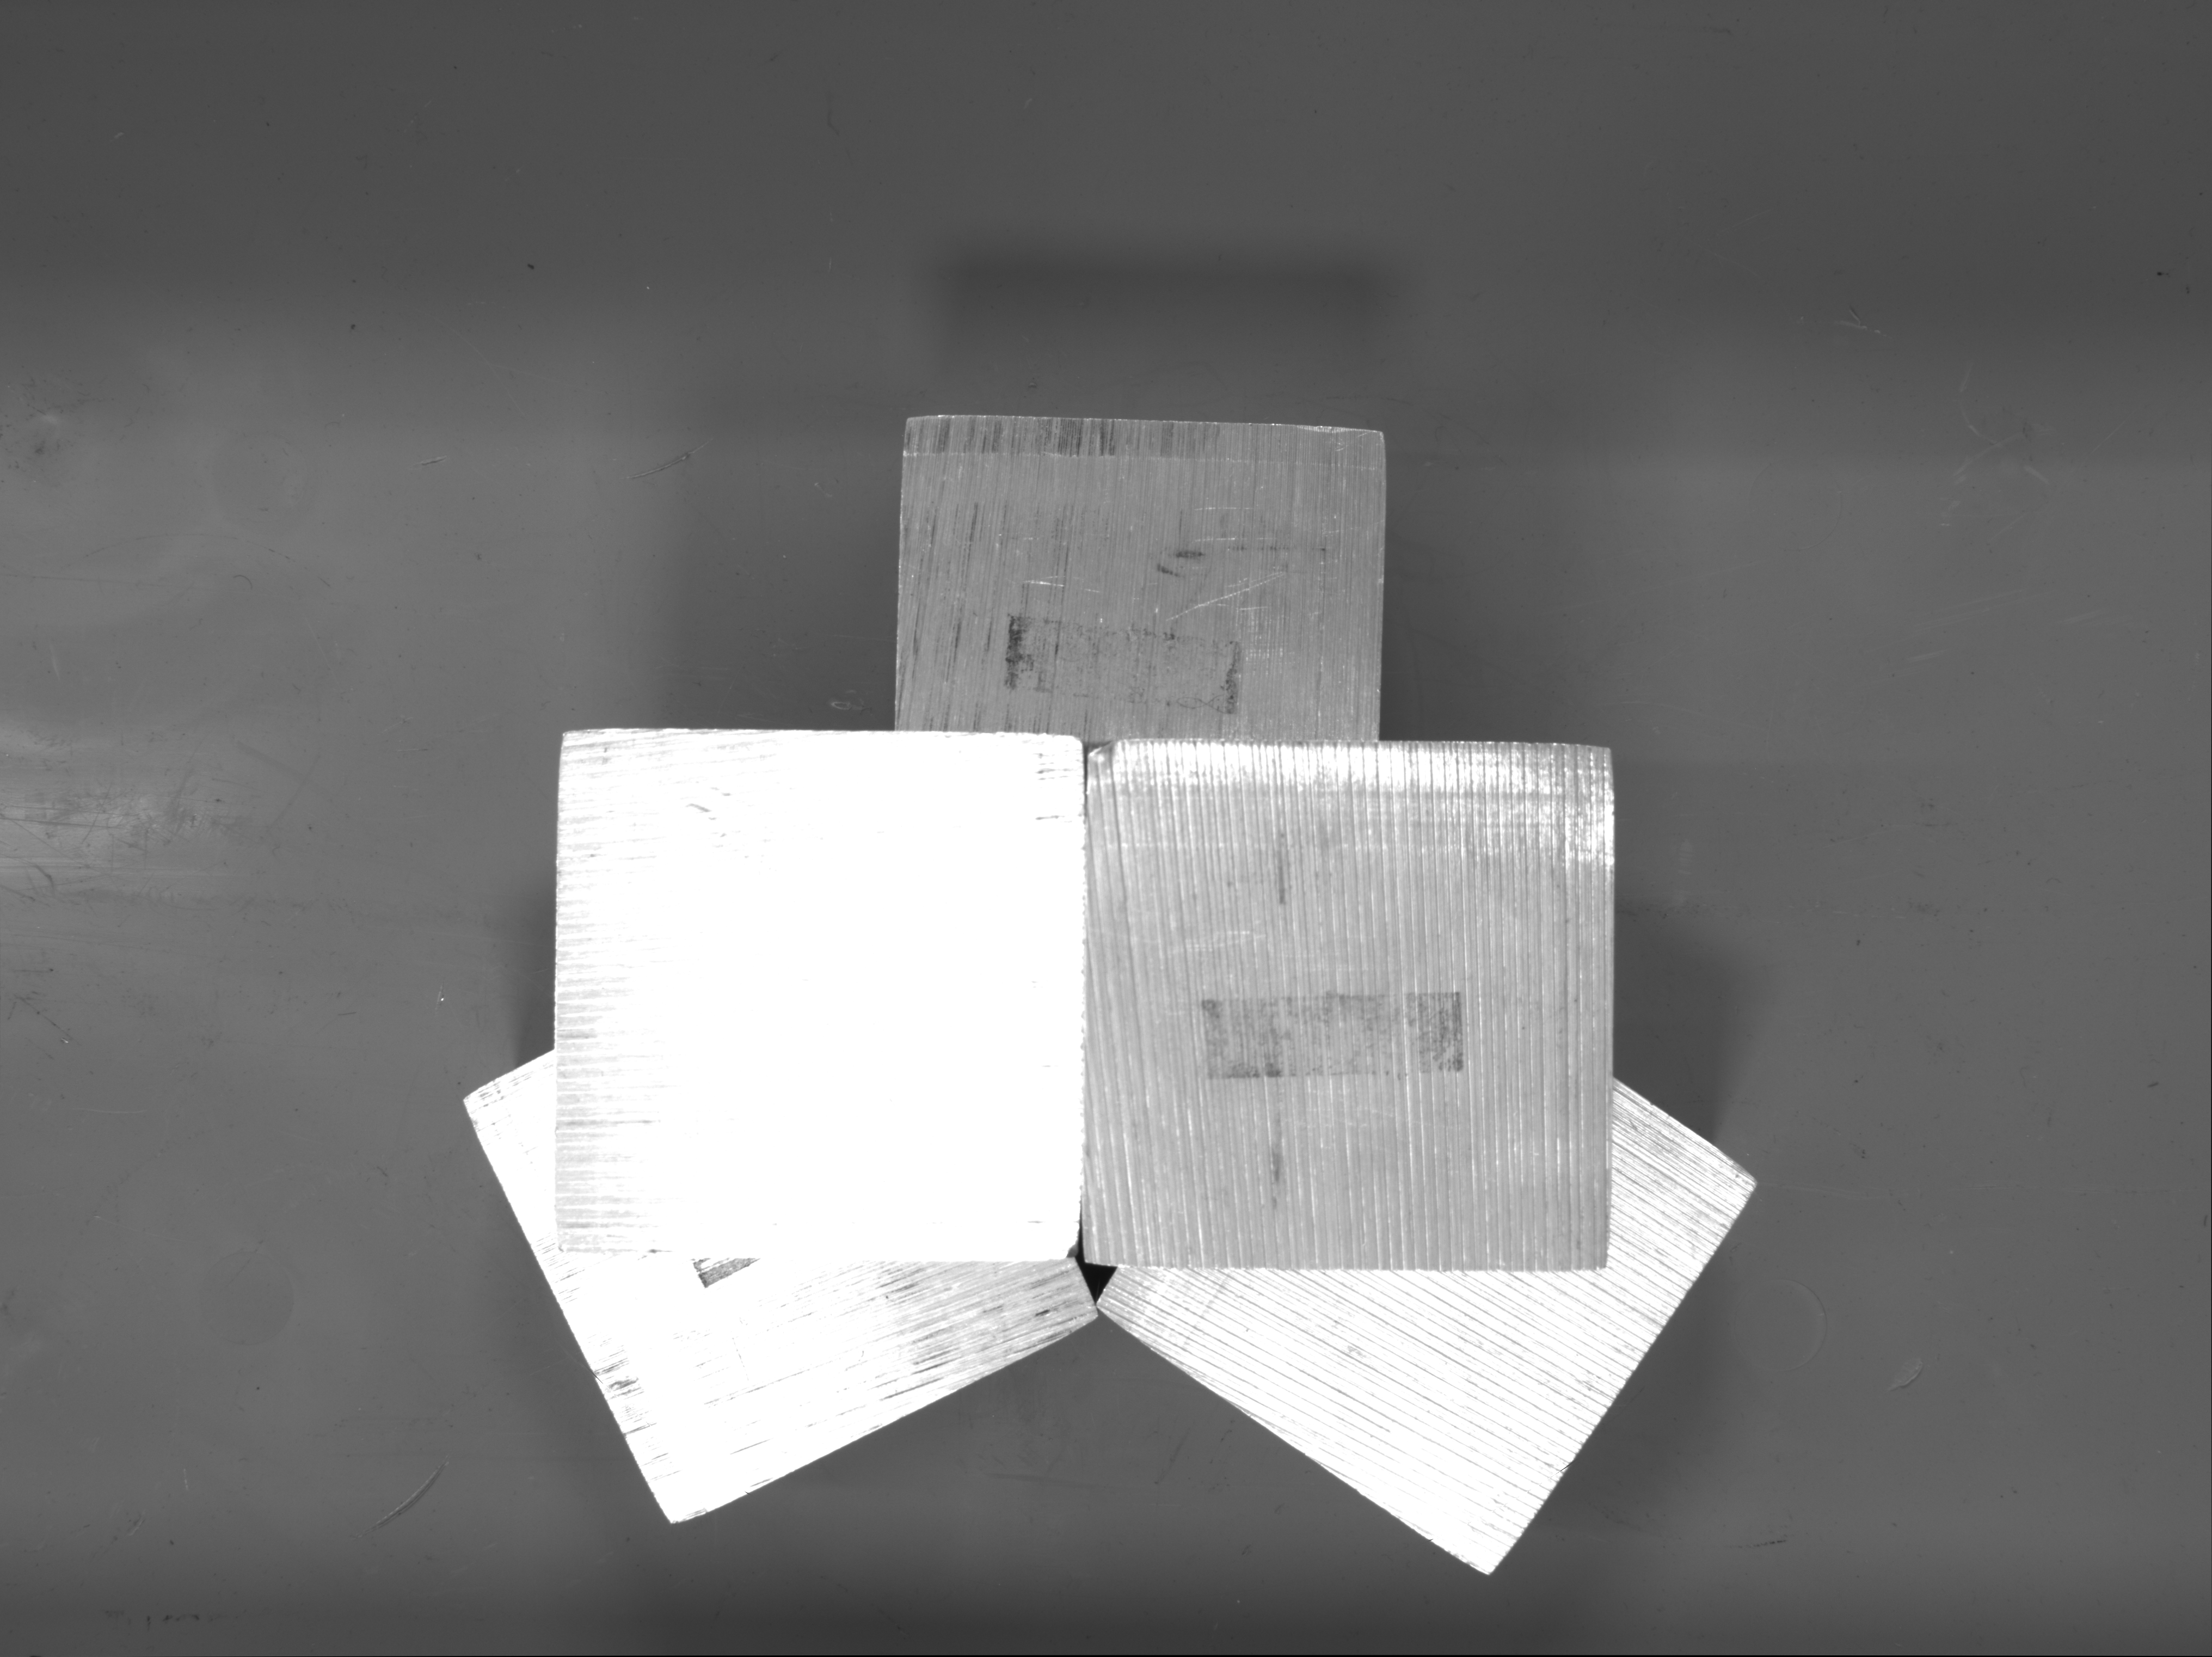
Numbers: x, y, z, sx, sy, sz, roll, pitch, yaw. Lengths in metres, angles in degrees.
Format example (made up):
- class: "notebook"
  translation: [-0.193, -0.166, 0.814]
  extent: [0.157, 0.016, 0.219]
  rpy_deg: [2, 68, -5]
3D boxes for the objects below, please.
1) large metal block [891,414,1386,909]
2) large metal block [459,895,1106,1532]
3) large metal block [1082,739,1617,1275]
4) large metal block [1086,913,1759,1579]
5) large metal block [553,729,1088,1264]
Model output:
- class: "large metal block"
  translation: [0.005, -0.027, 0.632]
  extent: [0.080, 0.050, 0.080]
  rpy_deg: [2, 90, 0]
- class: "large metal block"
  translation: [-0.053, 0.063, 0.631]
  extent: [0.080, 0.050, 0.080]
  rpy_deg: [-26, 90, 0]
- class: "large metal block"
  translation: [0.037, 0.027, 0.580]
  extent: [0.080, 0.050, 0.080]
  rpy_deg: [1, 90, 0]
- class: "large metal block"
  translation: [0.053, 0.068, 0.630]
  extent: [0.080, 0.050, 0.080]
  rpy_deg: [34, 90, 1]
- class: "large metal block"
  translation: [-0.043, 0.025, 0.581]
  extent: [0.080, 0.050, 0.080]
  rpy_deg: [1, 90, 0]
